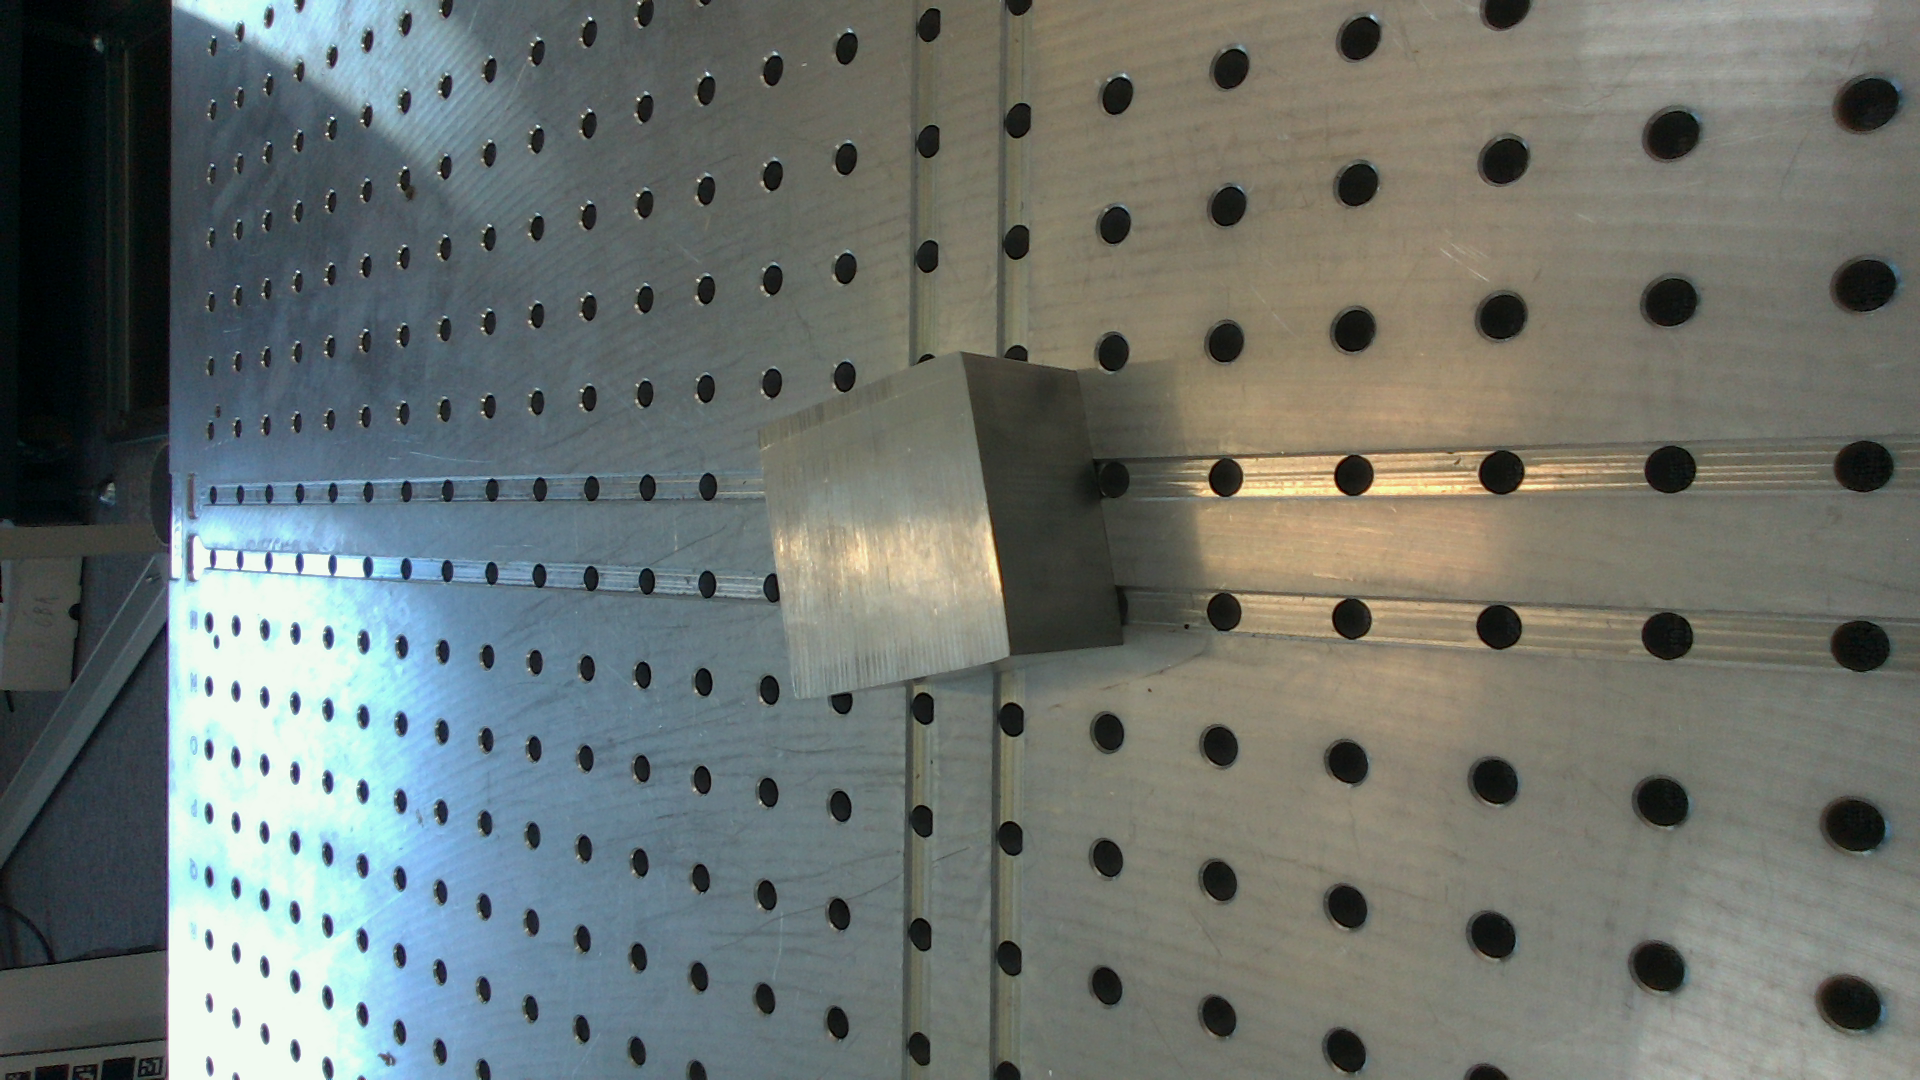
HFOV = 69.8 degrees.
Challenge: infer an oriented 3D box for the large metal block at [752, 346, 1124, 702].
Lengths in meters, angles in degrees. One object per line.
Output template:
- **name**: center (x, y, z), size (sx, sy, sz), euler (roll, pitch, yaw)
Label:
- **large metal block**: center (-0.008, -0.002, 0.387), size (0.080, 0.050, 0.080), euler (-16, 80, 39)
